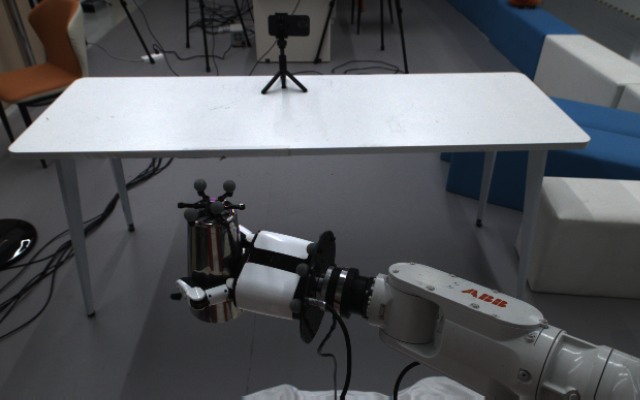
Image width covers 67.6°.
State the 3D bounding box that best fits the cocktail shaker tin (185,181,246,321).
[{"bbox_3d":[-0.149,0.085,0.699,0.093,0.170,0.093,3,35,-2],"label":"cocktail shaker tin"}]
